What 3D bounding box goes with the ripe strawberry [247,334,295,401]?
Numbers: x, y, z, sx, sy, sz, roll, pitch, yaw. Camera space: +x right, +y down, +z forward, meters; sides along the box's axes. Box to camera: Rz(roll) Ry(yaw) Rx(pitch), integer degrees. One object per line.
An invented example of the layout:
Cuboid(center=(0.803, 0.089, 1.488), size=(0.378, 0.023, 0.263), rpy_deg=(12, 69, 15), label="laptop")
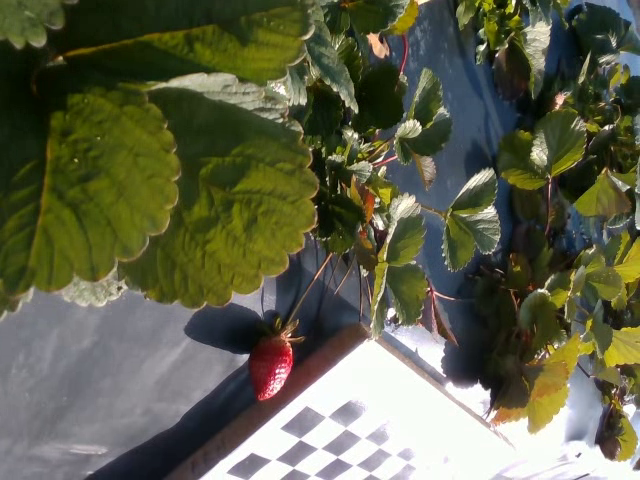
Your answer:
Cuboid(center=(-0.027, 0.069, 0.318), size=(0.033, 0.038, 0.034), rpy_deg=(-12, -36, 35), label="ripe strawberry")
